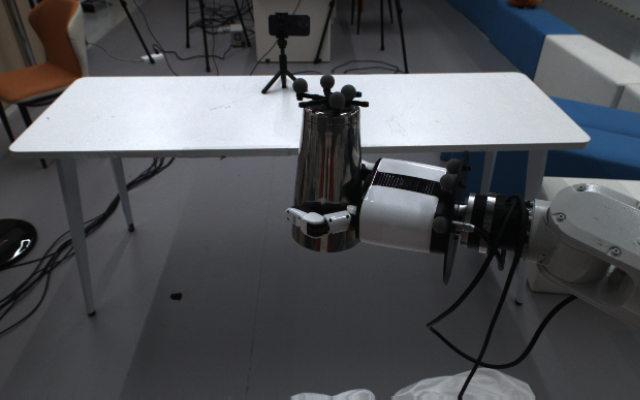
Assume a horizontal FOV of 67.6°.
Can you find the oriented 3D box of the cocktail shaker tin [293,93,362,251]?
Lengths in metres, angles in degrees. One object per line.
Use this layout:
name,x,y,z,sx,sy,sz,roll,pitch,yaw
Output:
cocktail shaker tin,0.013,-0.031,0.595,0.093,0.170,0.093,1,28,-1
